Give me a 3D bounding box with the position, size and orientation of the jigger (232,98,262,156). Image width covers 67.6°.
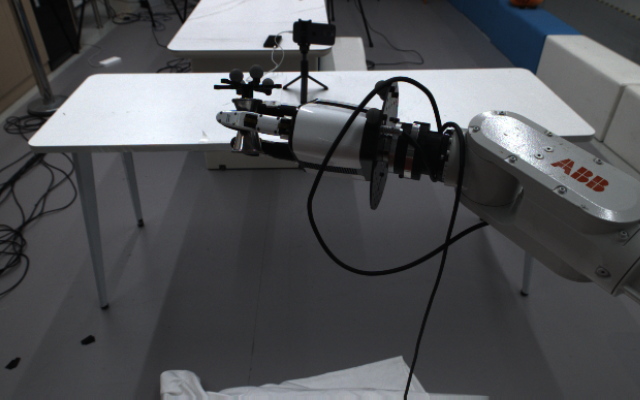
[{"bbox_3d":[-0.094,-0.096,0.632,0.043,0.071,0.043,0,2,0],"label":"jigger"}]
